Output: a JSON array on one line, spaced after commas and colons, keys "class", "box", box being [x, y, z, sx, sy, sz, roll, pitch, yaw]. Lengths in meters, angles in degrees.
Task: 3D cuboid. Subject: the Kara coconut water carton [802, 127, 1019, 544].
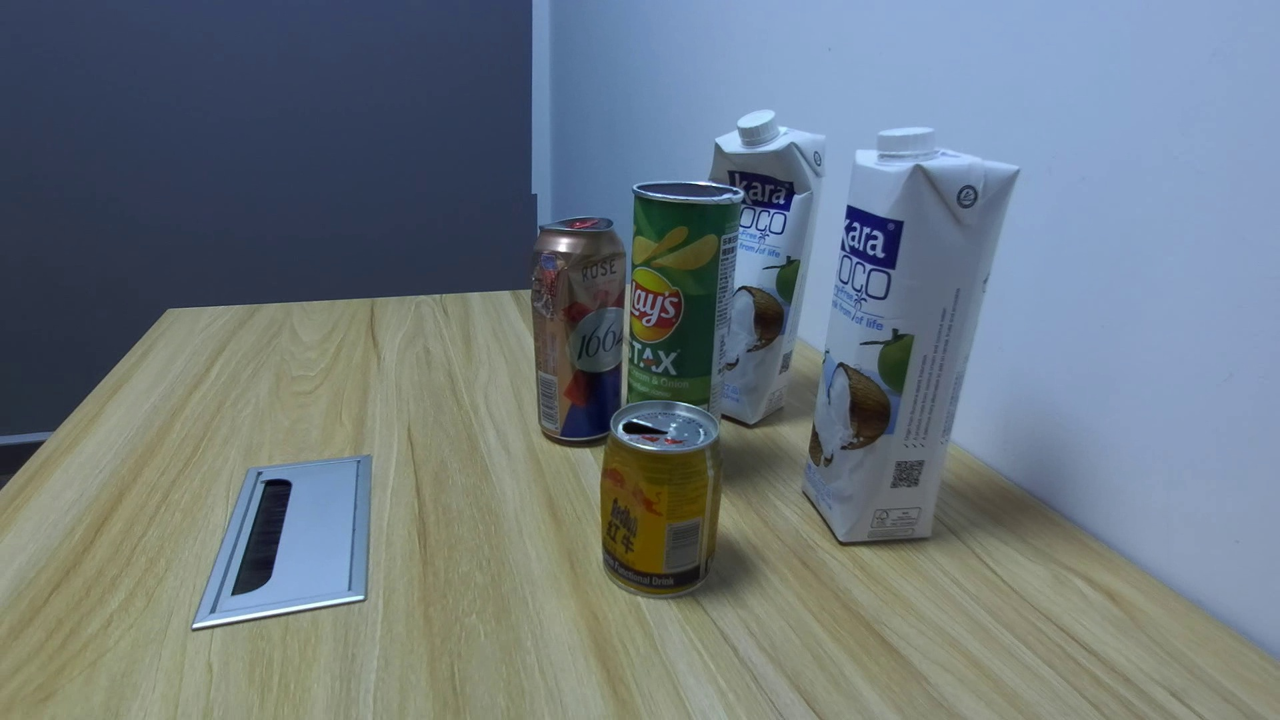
[{"class": "Kara coconut water carton", "box": [0.156, -0.011, 0.428, 0.075, 0.245, 0.077, -1, 22, -11]}]

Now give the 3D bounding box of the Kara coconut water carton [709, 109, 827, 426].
[{"class": "Kara coconut water carton", "box": [0.092, -0.072, 0.573, 0.099, 0.244, 0.071, 13, 20, 30]}]

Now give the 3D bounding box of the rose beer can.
[{"class": "rose beer can", "box": [-0.048, -0.021, 0.543, 0.076, 0.167, 0.065, -16, 25, -36]}]

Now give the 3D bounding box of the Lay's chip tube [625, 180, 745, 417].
[{"class": "Lay's chip tube", "box": [0.026, -0.017, 0.481, 0.071, 0.202, 0.071, 2, 23, -1]}]
